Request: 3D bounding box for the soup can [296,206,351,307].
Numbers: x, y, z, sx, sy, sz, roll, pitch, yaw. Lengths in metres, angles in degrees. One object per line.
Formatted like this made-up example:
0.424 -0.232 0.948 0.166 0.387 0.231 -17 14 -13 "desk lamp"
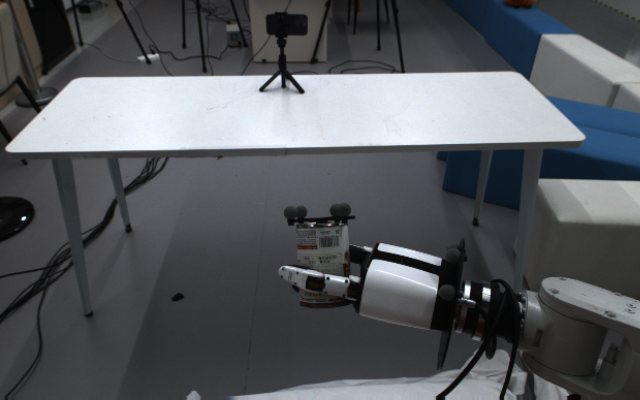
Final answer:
0.006 0.081 0.610 0.067 0.101 0.067 -3 -1 0 "soup can"
